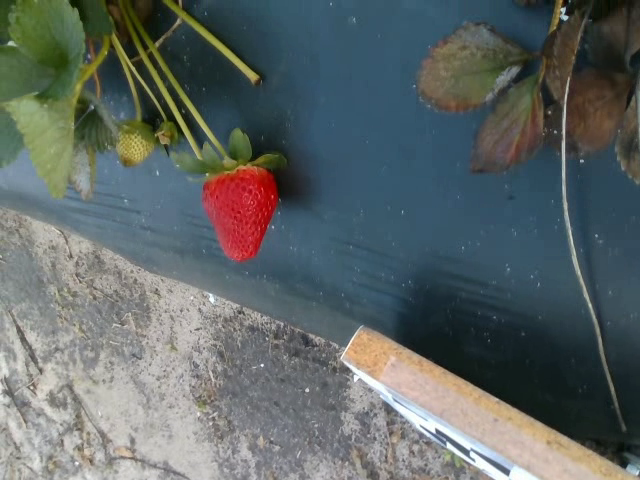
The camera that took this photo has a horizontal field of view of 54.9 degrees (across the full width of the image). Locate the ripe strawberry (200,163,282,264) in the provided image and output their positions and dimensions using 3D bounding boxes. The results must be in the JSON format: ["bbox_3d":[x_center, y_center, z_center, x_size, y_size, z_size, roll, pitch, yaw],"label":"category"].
[{"bbox_3d":[-0.041,-0.013,0.299,0.042,0.055,0.045,8,-3,-16],"label":"ripe strawberry"}]
